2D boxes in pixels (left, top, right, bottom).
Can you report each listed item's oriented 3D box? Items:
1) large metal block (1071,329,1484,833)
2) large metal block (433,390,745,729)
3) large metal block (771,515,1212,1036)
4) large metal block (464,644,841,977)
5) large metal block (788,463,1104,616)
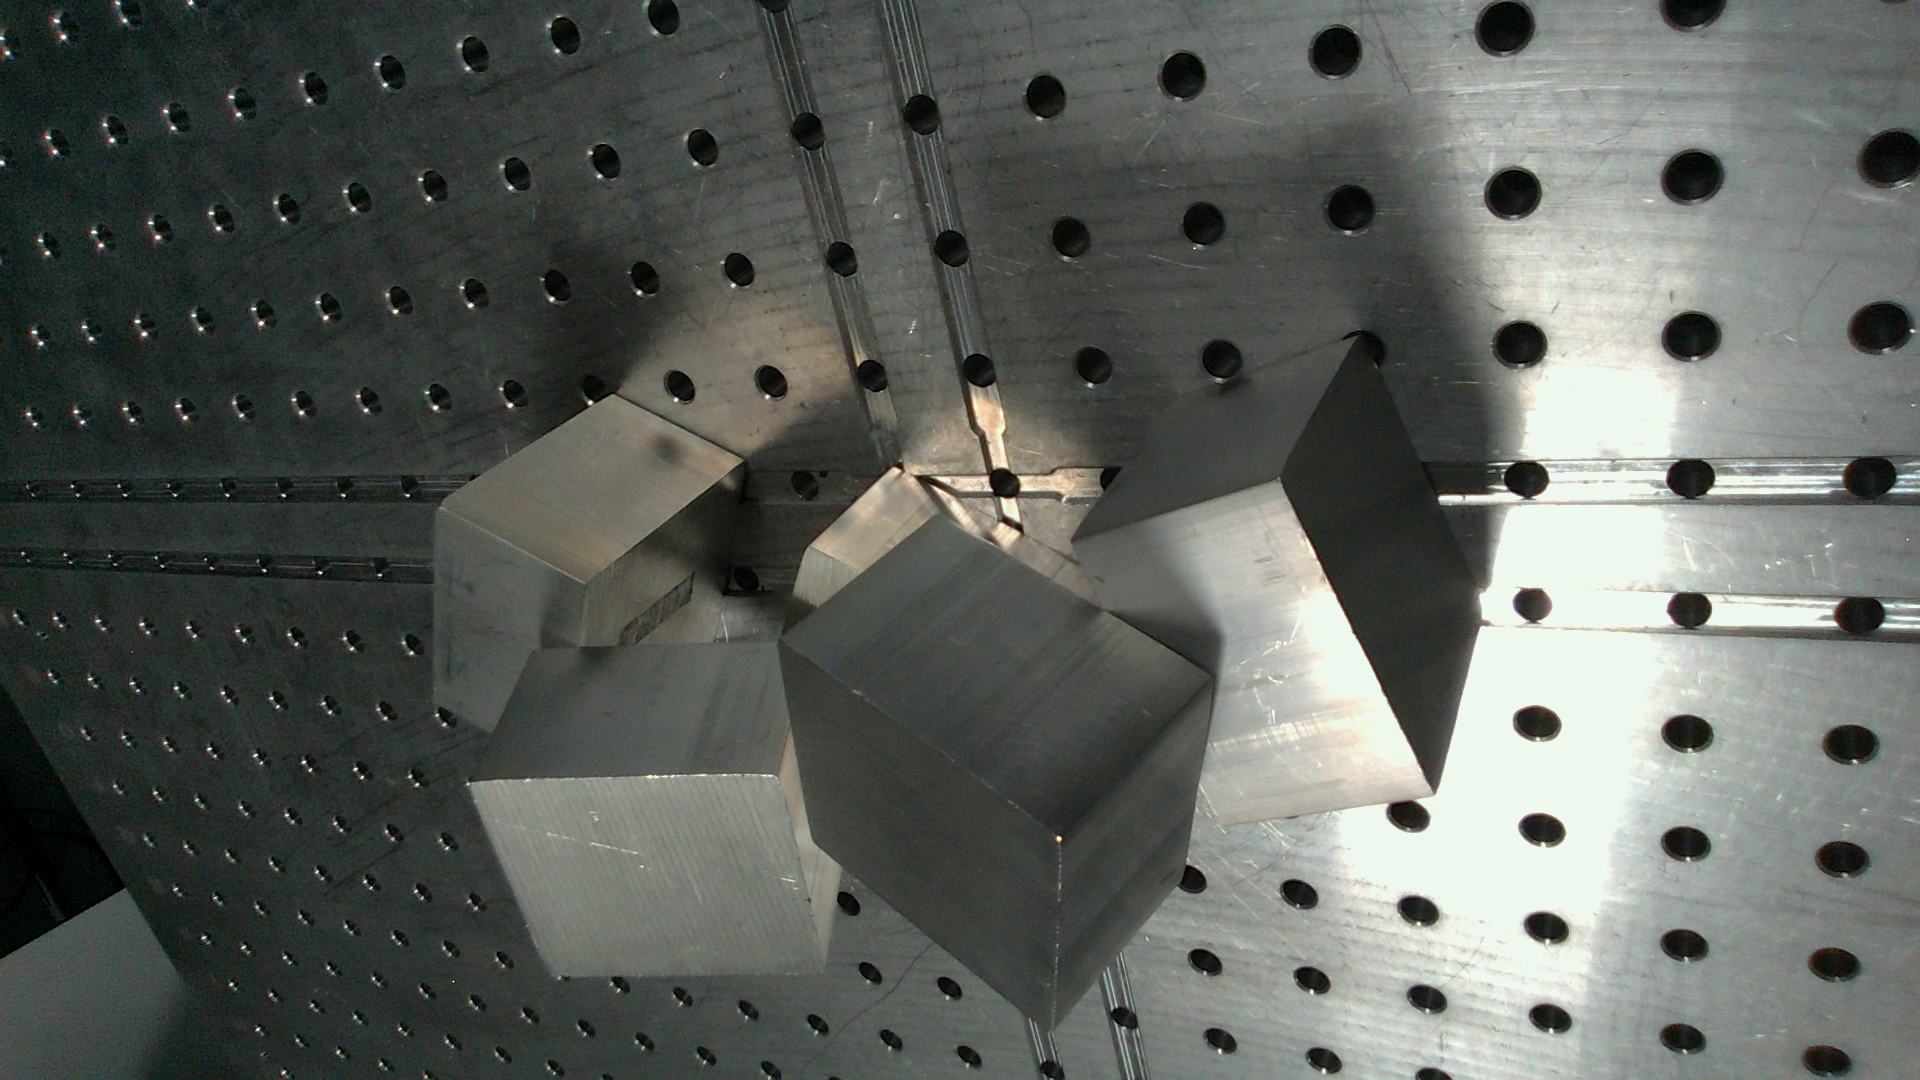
[{"bbox_3d":[0.079,0.009,0.323,0.050,0.080,0.080,-17,109,35],"label":"large metal block"},{"bbox_3d":[-0.116,0.012,0.430,0.050,0.080,0.080,26,128,12],"label":"large metal block"},{"bbox_3d":[0.007,0.054,0.320,0.080,0.050,0.080,31,143,28],"label":"large metal block"},{"bbox_3d":[-0.079,0.076,0.385,0.080,0.050,0.080,-2,127,6],"label":"large metal block"},{"bbox_3d":[-0.007,0.038,0.406,0.080,0.050,0.080,28,128,10],"label":"large metal block"}]
